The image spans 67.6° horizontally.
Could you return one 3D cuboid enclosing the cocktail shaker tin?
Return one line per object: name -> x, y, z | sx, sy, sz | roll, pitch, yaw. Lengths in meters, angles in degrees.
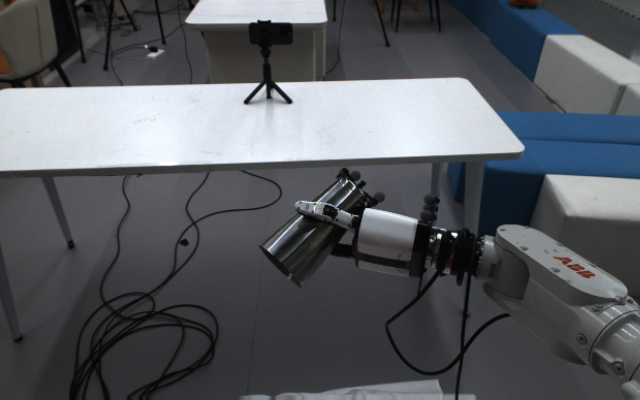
cocktail shaker tin -> -0.004, 0.040, 0.765 | 0.170, 0.093, 0.093 | -43, 50, -14
